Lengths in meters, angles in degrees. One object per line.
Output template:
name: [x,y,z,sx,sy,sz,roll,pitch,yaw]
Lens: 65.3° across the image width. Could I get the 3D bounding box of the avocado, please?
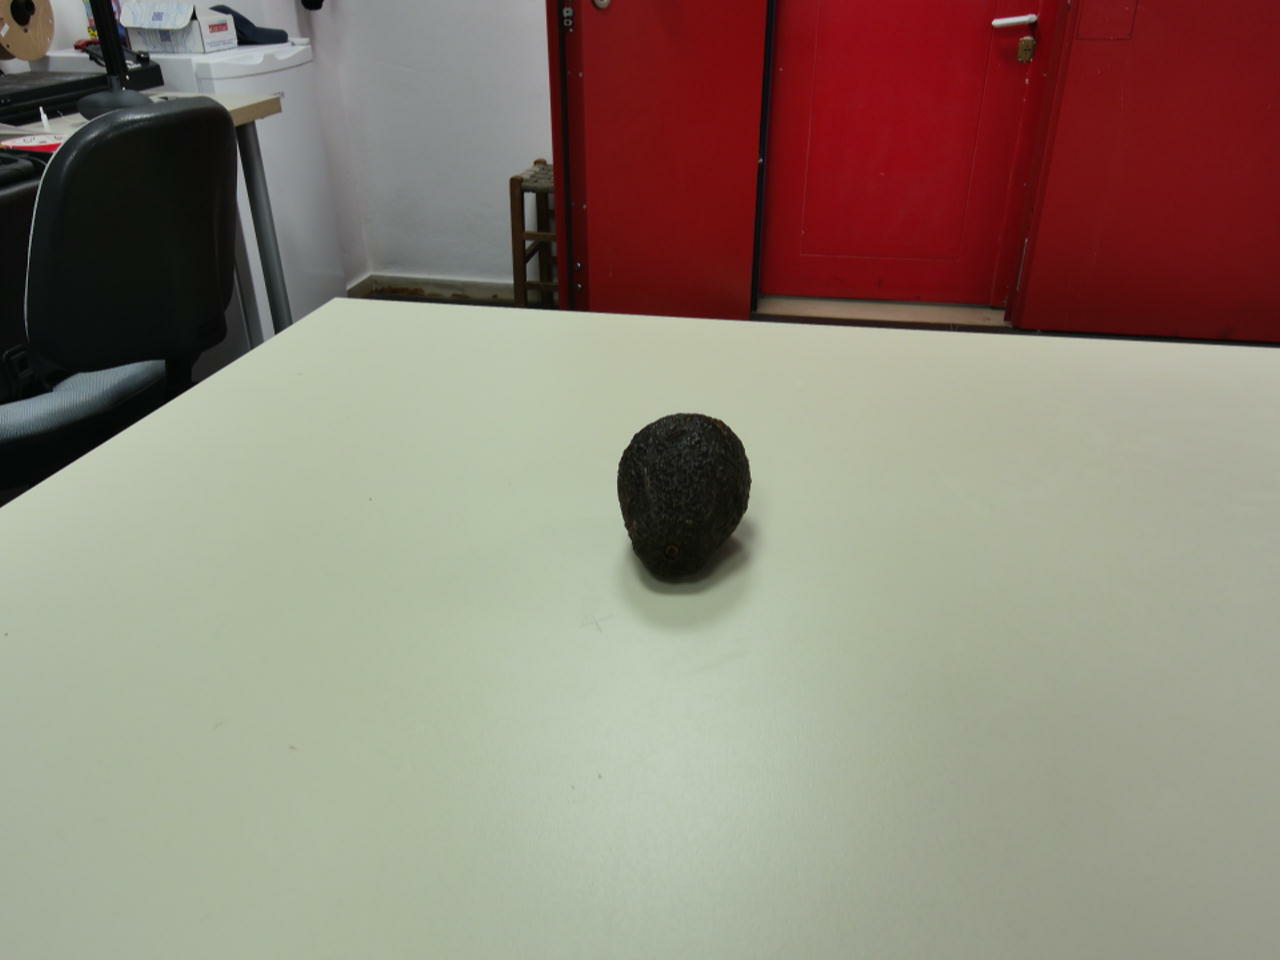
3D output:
avocado: [0.020,0.003,0.515,0.070,0.069,0.090,17,31,33]
